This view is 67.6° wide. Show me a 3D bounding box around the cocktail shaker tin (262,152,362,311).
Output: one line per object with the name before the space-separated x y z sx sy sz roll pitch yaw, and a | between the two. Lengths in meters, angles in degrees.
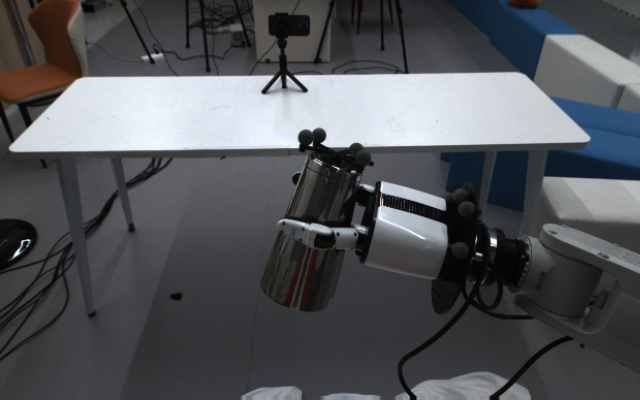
cocktail shaker tin | -0.005 0.035 0.573 0.093 0.170 0.093 15 17 -5
